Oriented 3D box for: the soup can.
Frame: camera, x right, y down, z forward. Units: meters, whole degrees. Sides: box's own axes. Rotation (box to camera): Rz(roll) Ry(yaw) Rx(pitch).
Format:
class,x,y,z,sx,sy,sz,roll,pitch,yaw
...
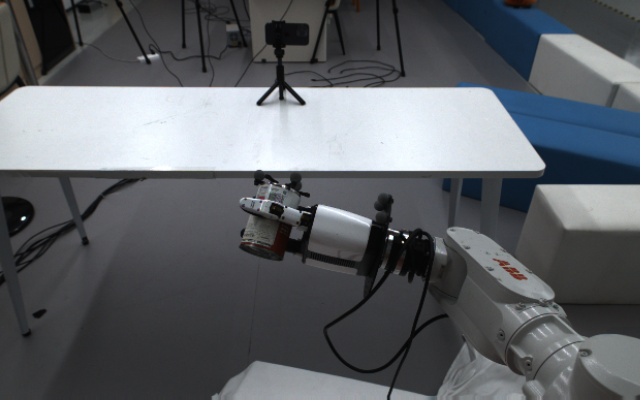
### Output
class,x,y,z,sx,sy,sz,roll,pitch,yaw
soup can,-0.072,0.034,0.723,0.067,0.067,0.101,11,72,13
